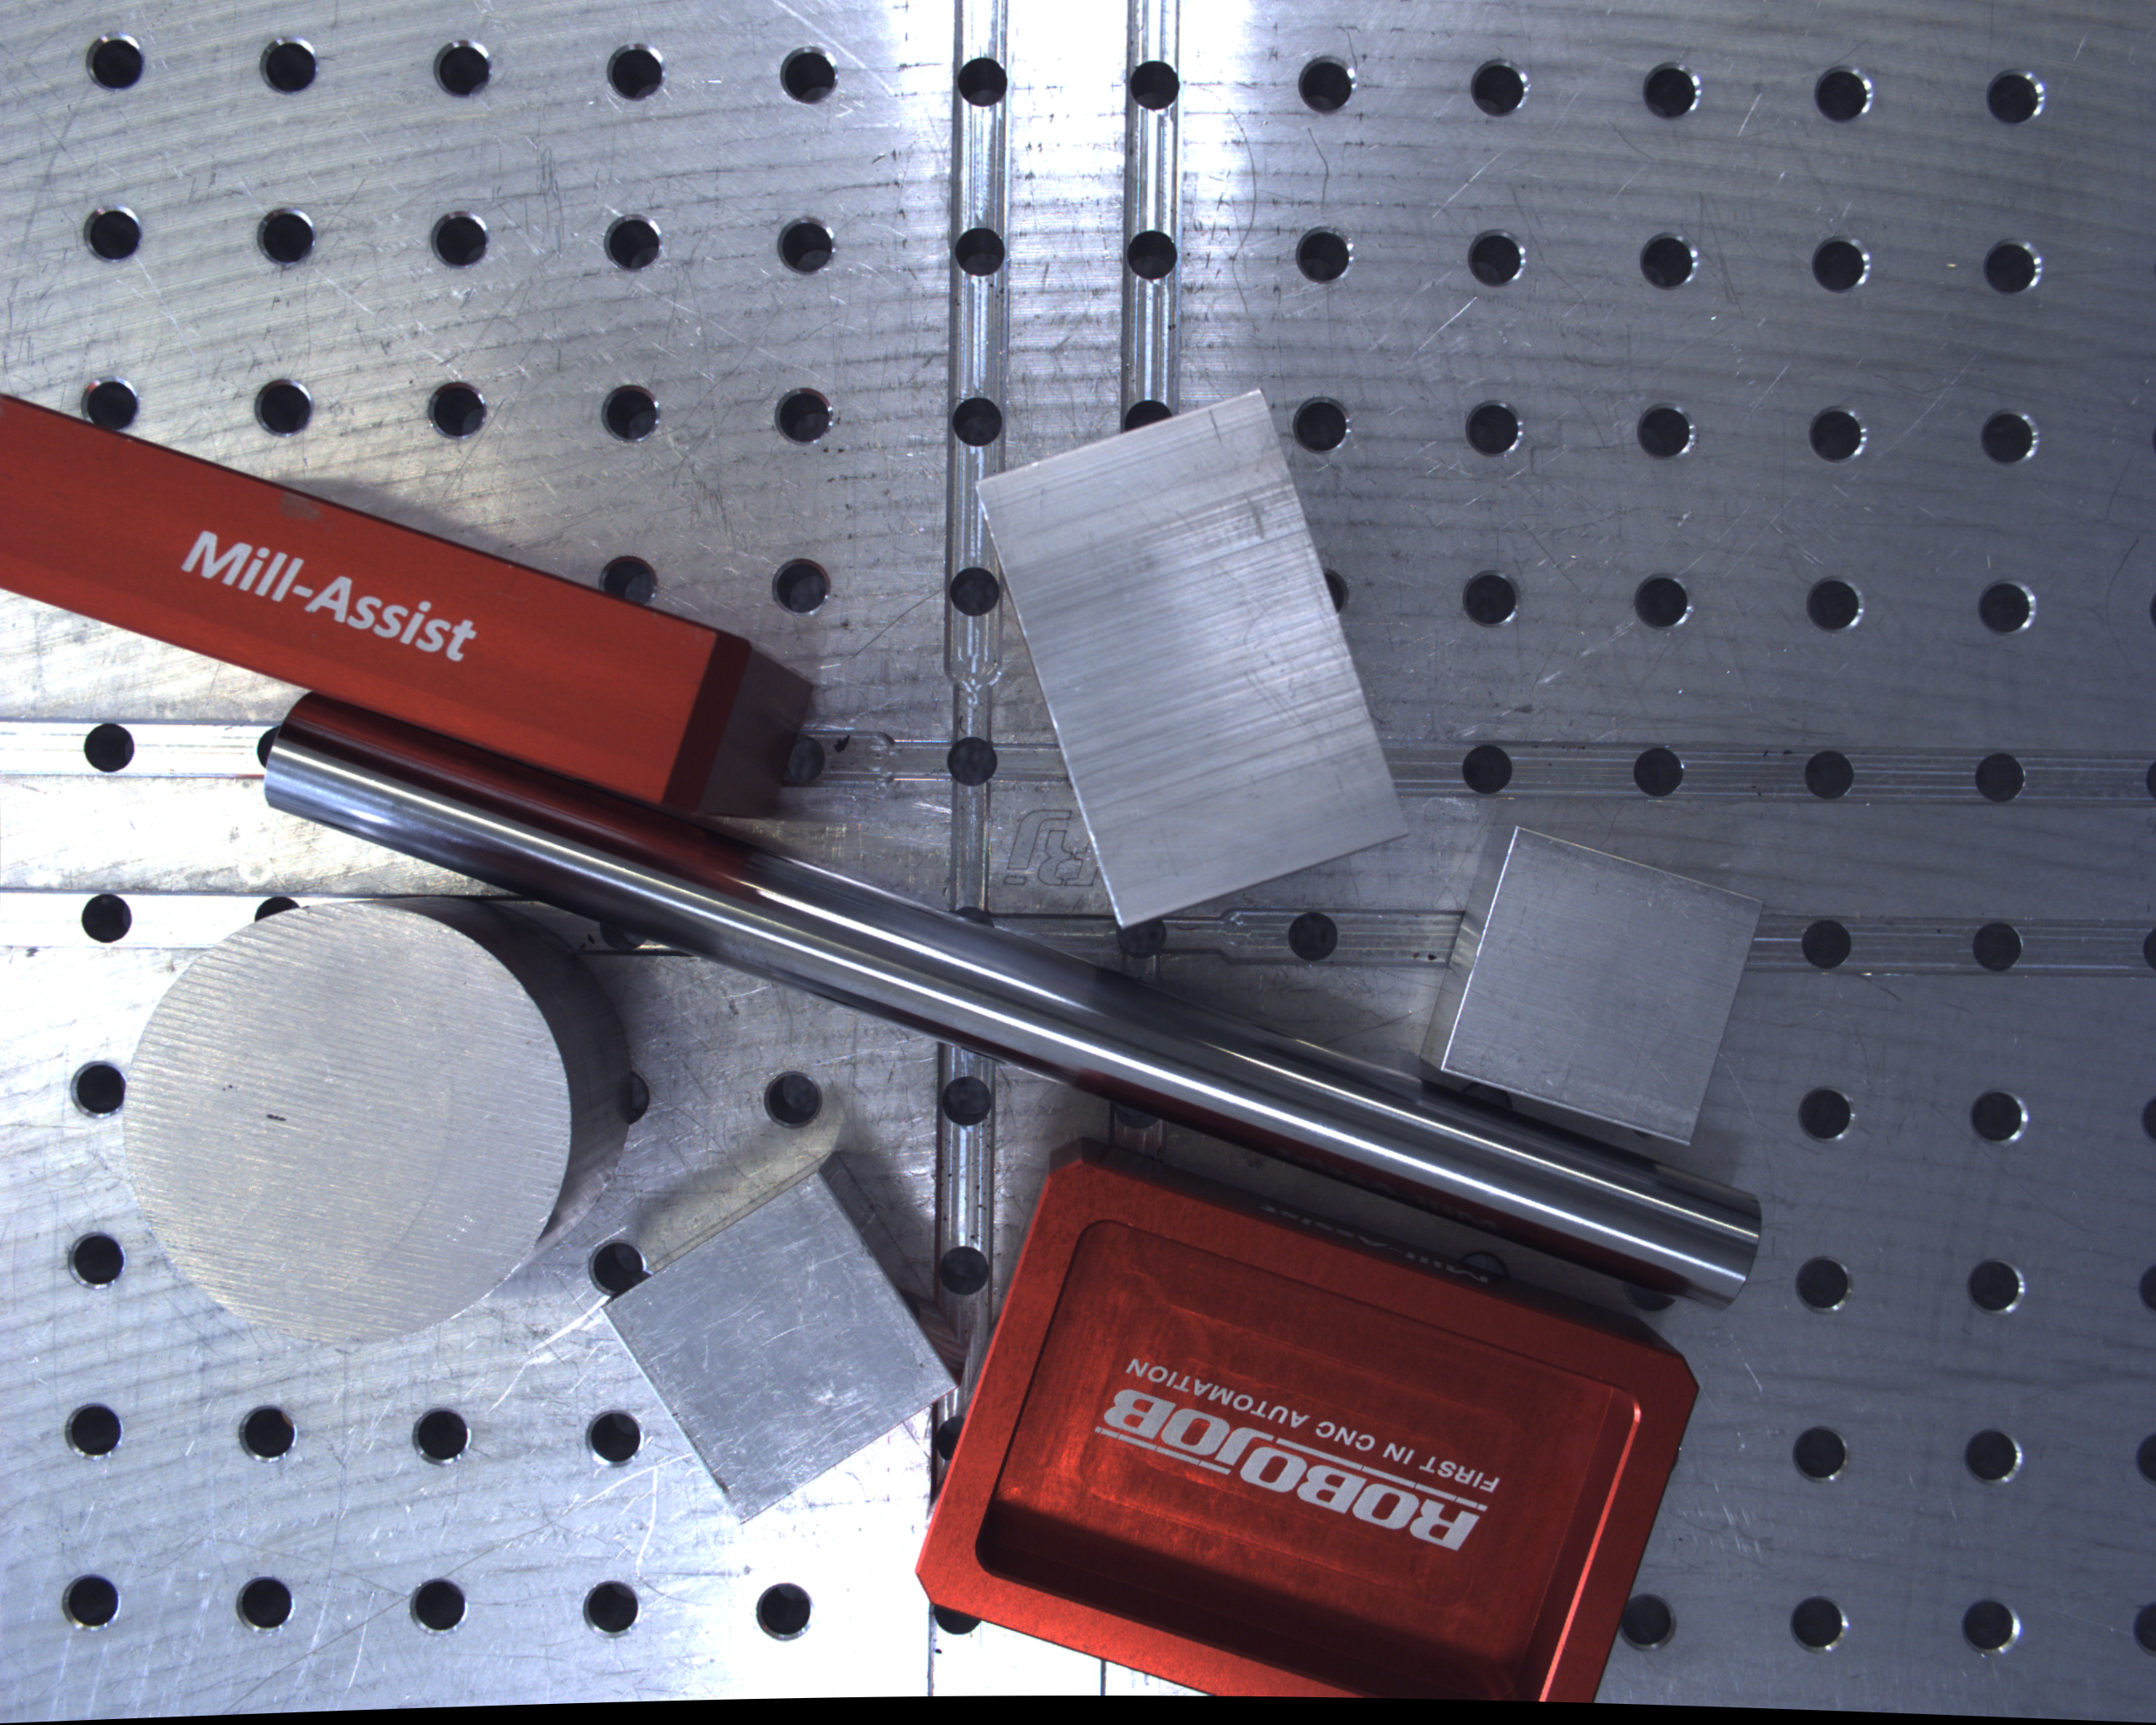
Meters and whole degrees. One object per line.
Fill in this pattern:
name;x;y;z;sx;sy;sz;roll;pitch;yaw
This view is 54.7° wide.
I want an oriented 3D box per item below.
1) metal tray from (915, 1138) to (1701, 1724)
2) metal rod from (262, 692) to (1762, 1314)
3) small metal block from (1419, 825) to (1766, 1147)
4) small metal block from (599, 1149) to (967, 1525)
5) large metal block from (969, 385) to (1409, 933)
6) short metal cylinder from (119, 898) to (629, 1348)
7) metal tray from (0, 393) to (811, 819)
metal tray;0.044;0.117;0.411;0.131;0.030;0.090;18;90;0
metal rod;-0.012;0.028;0.413;0.301;0.025;0.025;19;90;0
small metal block;0.101;0.024;0.414;0.050;0.025;0.050;17;90;0
small metal block;-0.057;0.093;0.413;0.050;0.025;0.050;-32;90;0
large metal block;0.019;-0.034;0.387;0.050;0.080;0.080;-19;90;0
short metal cylinder;-0.132;0.047;0.399;0.081;0.050;0.080;0;90;0
metal tray;-0.120;-0.042;0.379;0.131;0.090;0.030;19;90;0
